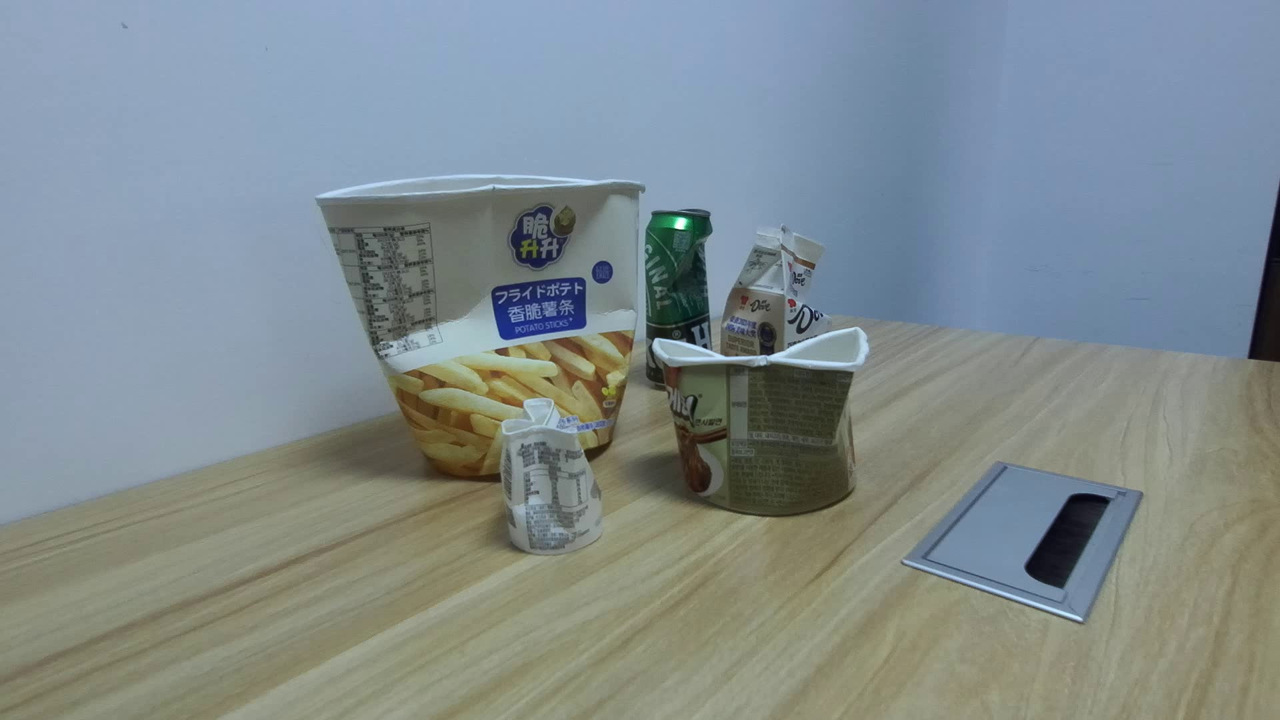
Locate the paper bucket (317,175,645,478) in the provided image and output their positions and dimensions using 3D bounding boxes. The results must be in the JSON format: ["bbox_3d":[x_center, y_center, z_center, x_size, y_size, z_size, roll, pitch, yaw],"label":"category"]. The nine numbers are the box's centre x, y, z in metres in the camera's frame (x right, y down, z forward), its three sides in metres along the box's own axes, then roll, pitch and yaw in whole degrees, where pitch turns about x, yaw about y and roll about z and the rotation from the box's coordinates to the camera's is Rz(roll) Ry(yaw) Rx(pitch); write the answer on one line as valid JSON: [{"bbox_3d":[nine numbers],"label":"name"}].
[{"bbox_3d":[-0.092,-0.032,0.518,0.147,0.199,0.218,6,17,24],"label":"paper bucket"}]

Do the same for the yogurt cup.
[{"bbox_3d":[-0.051,0.064,0.394,0.055,0.072,0.055,-2,16,10],"label":"yogurt cup"}]

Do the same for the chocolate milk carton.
[{"bbox_3d":[0.114,-0.035,0.580,0.076,0.155,0.073,-14,21,-39],"label":"chocolate milk carton"}]

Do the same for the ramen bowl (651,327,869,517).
[{"bbox_3d":[0.075,0.032,0.450,0.128,0.093,0.112,2,16,14],"label":"ramen bowl"}]
